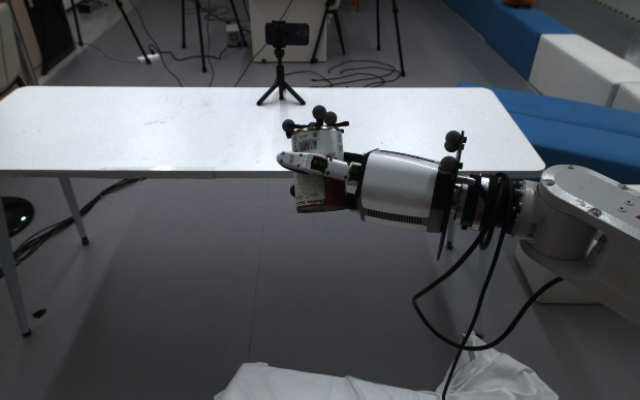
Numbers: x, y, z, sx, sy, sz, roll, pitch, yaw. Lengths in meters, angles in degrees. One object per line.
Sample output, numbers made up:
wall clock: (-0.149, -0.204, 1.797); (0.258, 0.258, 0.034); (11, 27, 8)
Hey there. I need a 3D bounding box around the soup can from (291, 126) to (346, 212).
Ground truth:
soup can: (0.001, -0.037, 0.620); (0.067, 0.101, 0.067); (-5, -5, 0)
